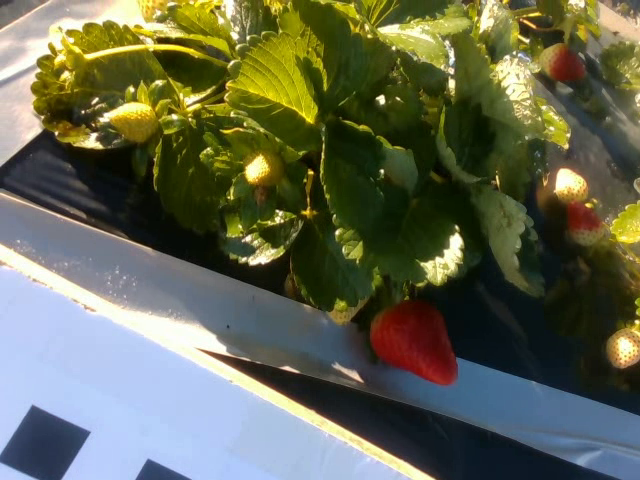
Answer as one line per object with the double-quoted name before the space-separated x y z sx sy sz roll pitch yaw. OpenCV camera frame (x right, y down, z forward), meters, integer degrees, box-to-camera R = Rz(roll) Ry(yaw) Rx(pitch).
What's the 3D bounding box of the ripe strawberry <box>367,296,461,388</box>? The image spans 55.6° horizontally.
"ripe strawberry" 0.050 0.054 0.313 0.045 0.049 0.064 -34 41 -5
